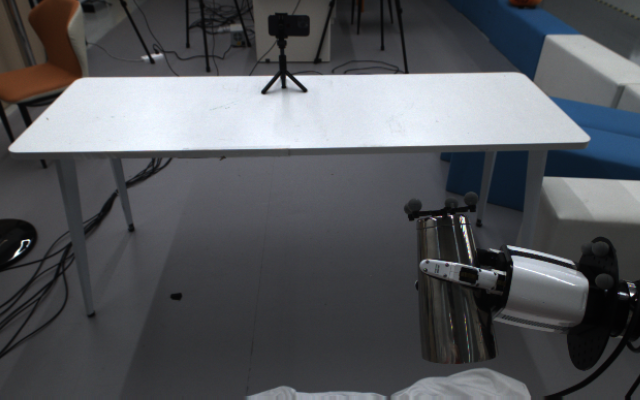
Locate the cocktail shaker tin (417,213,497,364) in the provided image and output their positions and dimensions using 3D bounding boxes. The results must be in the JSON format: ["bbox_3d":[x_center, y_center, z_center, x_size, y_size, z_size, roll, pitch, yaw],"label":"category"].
[{"bbox_3d":[0.165,0.107,0.607,0.093,0.170,0.093,-6,-7,-1],"label":"cocktail shaker tin"}]
